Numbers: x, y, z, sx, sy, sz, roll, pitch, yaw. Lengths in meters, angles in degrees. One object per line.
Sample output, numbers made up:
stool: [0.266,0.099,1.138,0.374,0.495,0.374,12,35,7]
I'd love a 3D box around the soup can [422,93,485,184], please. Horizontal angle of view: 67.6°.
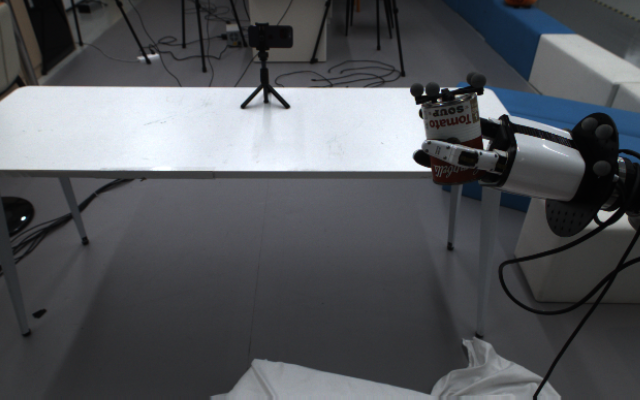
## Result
soup can: [0.169,-0.077,0.606,0.067,0.101,0.067,-12,17,4]
